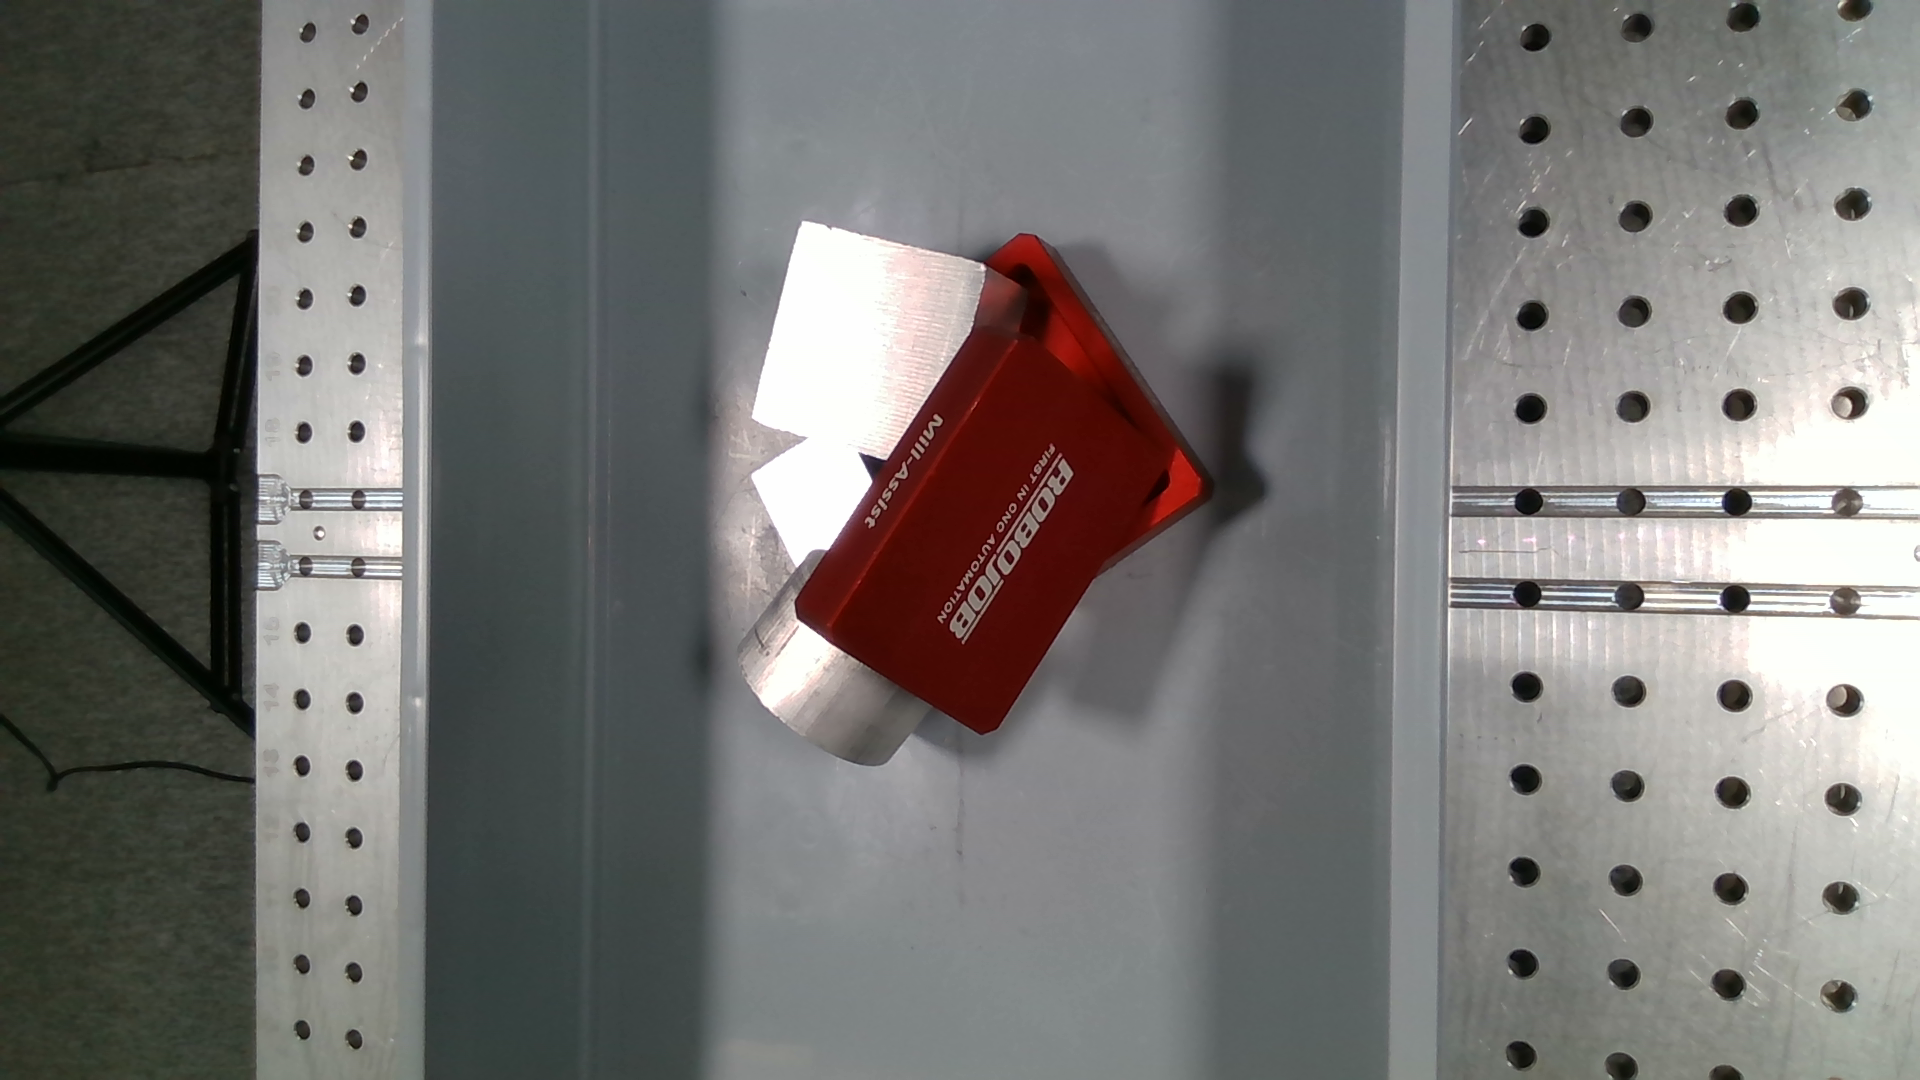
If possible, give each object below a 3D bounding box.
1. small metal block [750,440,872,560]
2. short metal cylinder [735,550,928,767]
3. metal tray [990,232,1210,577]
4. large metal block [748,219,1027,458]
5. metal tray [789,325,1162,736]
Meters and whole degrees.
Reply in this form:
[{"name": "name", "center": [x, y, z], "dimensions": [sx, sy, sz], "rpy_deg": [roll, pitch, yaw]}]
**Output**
[{"name": "small metal block", "center": [-0.056, -0.019, 0.605], "dimensions": [0.050, 0.025, 0.050], "rpy_deg": [-31, 80, 18]}, {"name": "short metal cylinder", "center": [-0.046, 0.049, 0.573], "dimensions": [0.080, 0.080, 0.050], "rpy_deg": [41, 103, 15]}, {"name": "metal tray", "center": [0.032, -0.048, 0.569], "dimensions": [0.090, 0.030, 0.130], "rpy_deg": [-36, 79, 17]}, {"name": "large metal block", "center": [-0.028, -0.075, 0.547], "dimensions": [0.080, 0.050, 0.080], "rpy_deg": [17, 96, 19]}, {"name": "metal tray", "center": [0.008, -0.003, 0.516], "dimensions": [0.130, 0.090, 0.030], "rpy_deg": [-57, 34, -3]}]
